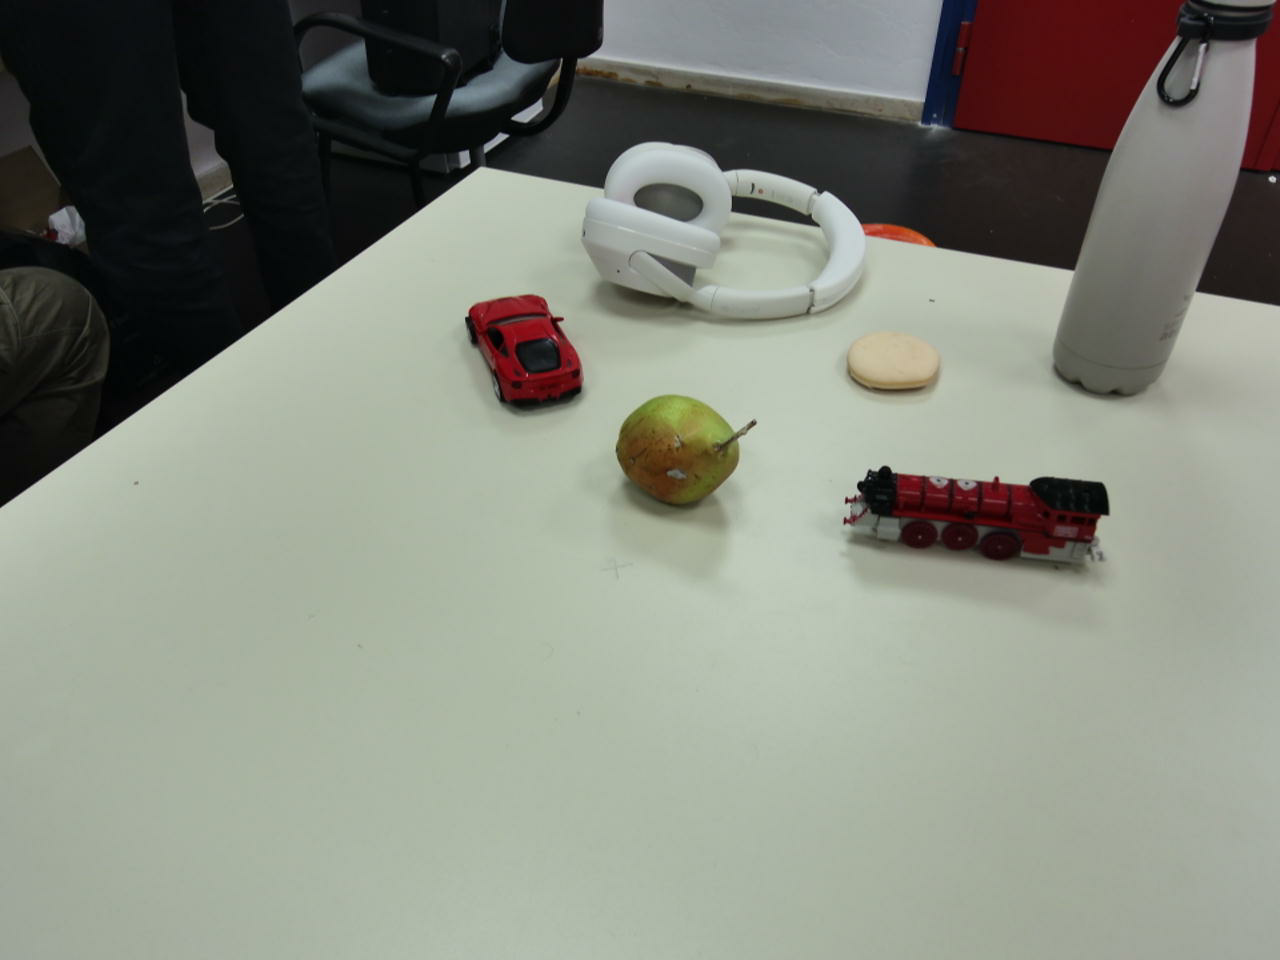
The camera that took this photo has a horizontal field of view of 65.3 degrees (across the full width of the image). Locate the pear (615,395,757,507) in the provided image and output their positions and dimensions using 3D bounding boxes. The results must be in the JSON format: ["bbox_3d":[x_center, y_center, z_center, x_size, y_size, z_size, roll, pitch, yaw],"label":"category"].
[{"bbox_3d":[0.021,-0.019,0.580,0.068,0.069,0.070,-8,39,-11],"label":"pear"}]
